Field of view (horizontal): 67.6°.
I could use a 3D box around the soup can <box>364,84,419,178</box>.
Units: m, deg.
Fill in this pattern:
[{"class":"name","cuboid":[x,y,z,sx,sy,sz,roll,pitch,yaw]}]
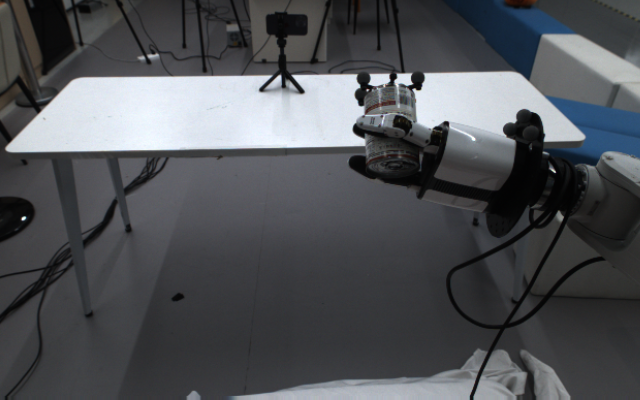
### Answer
[{"class":"soup can","cuboid":[0.091,-0.086,0.610,0.067,0.067,0.101,1,72,-2]}]
